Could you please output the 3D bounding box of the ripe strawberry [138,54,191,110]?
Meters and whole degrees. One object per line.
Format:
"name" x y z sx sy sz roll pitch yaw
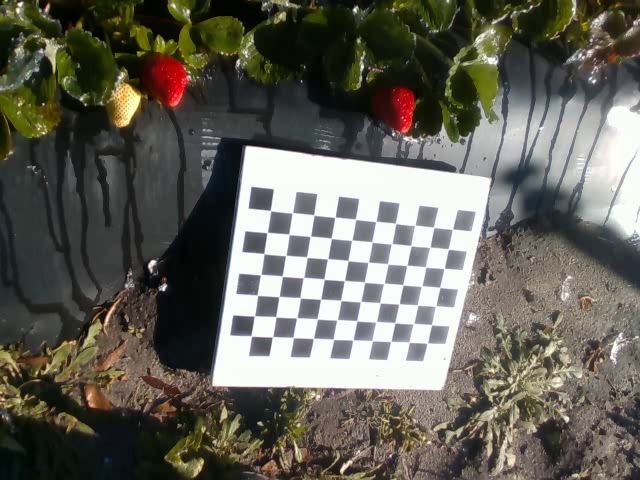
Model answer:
"ripe strawberry" -0.140 -0.140 0.592 0.042 0.061 0.046 -9 -22 -14

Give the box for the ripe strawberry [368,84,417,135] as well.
"ripe strawberry" 0.079 -0.133 0.655 0.048 0.061 0.044 -2 -15 -17
